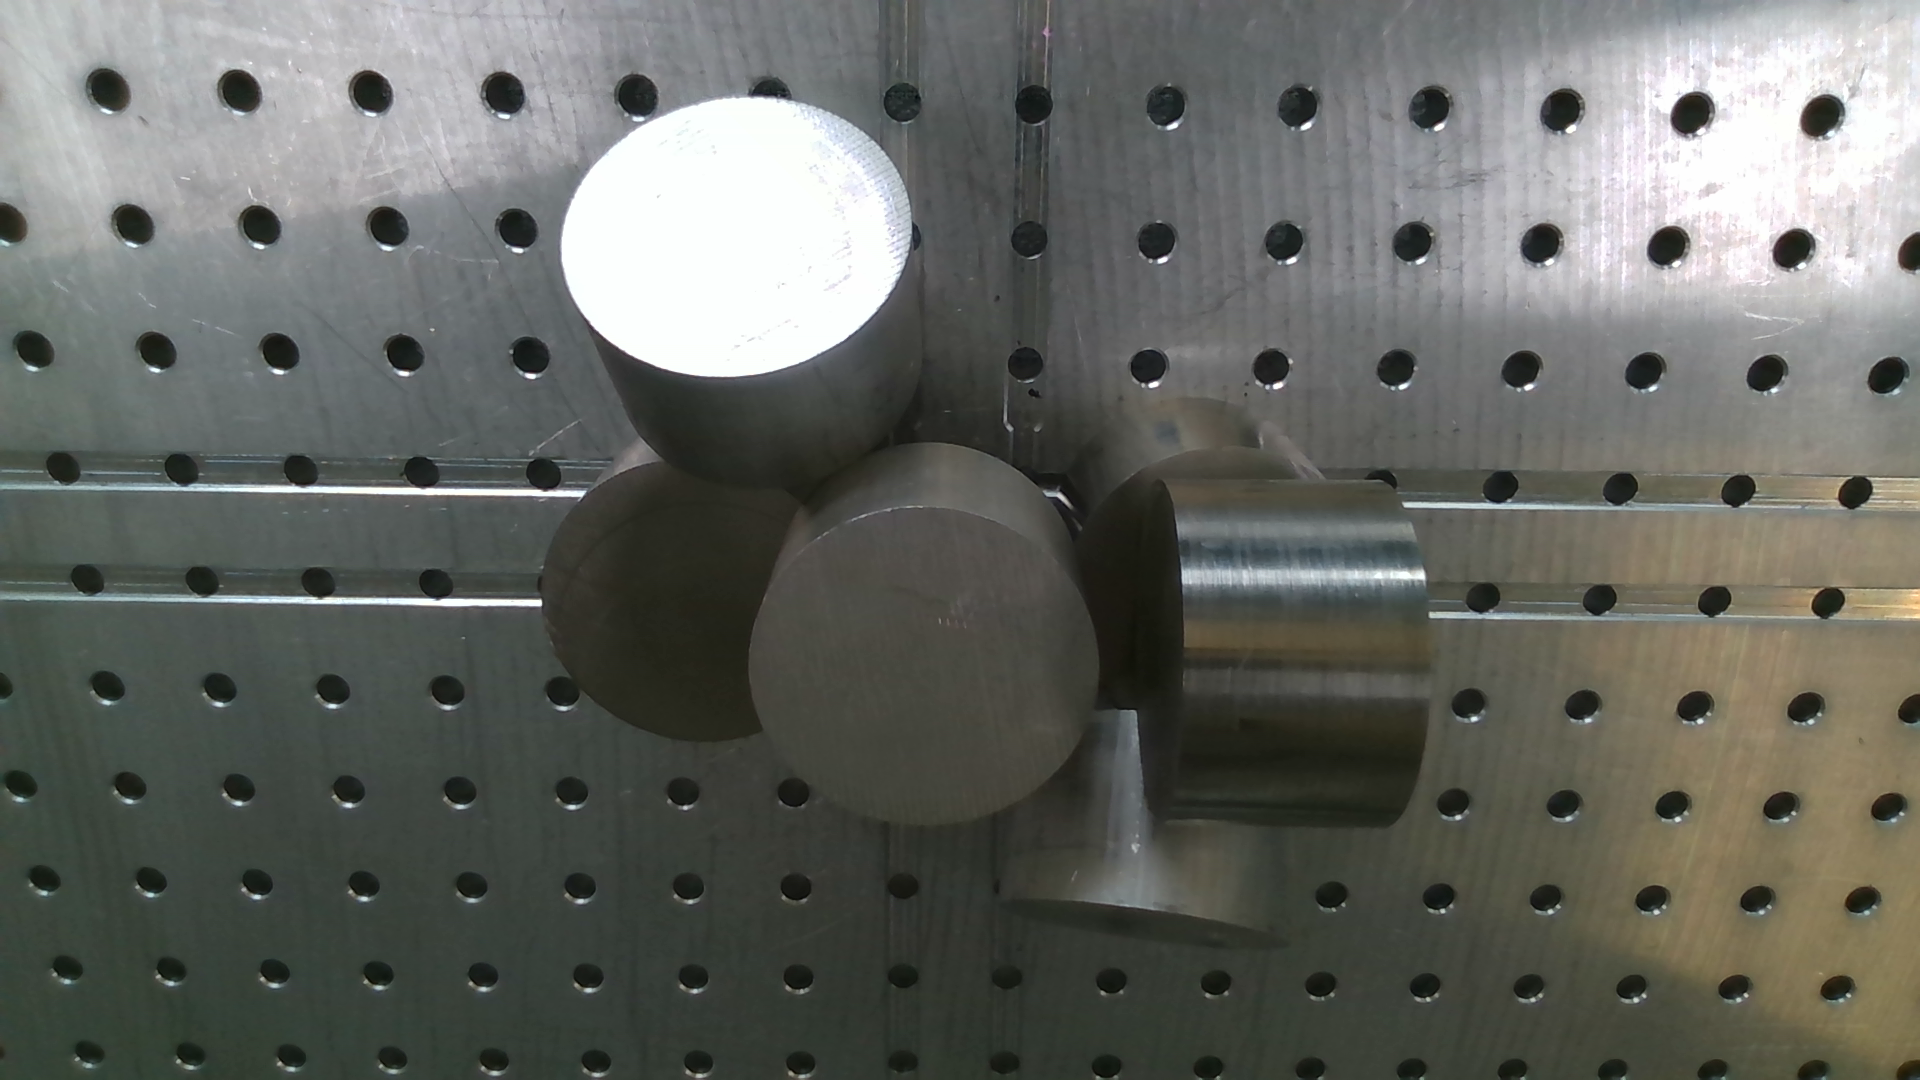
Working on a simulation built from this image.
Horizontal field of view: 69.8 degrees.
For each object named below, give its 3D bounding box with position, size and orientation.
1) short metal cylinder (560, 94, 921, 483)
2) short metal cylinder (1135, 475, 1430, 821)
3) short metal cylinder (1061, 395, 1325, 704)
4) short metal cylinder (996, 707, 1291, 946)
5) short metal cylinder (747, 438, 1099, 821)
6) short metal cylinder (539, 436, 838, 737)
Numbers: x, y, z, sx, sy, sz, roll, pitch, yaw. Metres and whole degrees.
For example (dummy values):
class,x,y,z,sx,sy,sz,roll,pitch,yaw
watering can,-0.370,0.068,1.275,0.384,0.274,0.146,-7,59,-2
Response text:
class,x,y,z,sx,sy,sz,roll,pitch,yaw
short metal cylinder,-0.051,-0.061,0.338,0.080,0.080,0.050,-2,154,1
short metal cylinder,0.071,0.025,0.321,0.050,0.080,0.080,0,110,0
short metal cylinder,0.067,0.005,0.384,0.080,0.050,0.080,0,110,0
short metal cylinder,0.053,0.083,0.390,0.080,0.080,0.050,10,69,-4
short metal cylinder,-0.008,0.021,0.336,0.080,0.050,0.080,0,110,0
short metal cylinder,-0.070,0.008,0.385,0.080,0.050,0.080,0,110,1
